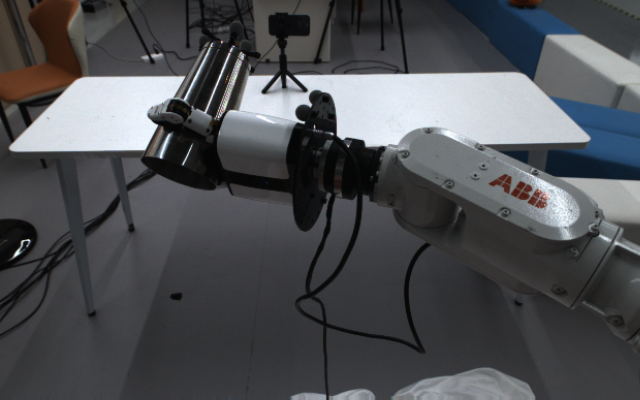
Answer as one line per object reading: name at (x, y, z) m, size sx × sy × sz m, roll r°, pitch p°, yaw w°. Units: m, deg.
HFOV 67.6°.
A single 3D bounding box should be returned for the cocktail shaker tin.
cocktail shaker tin at (-0.146, -0.108, 0.600) m, size 0.093 × 0.093 × 0.170 m, roll 13°, pitch 72°, yaw 15°
